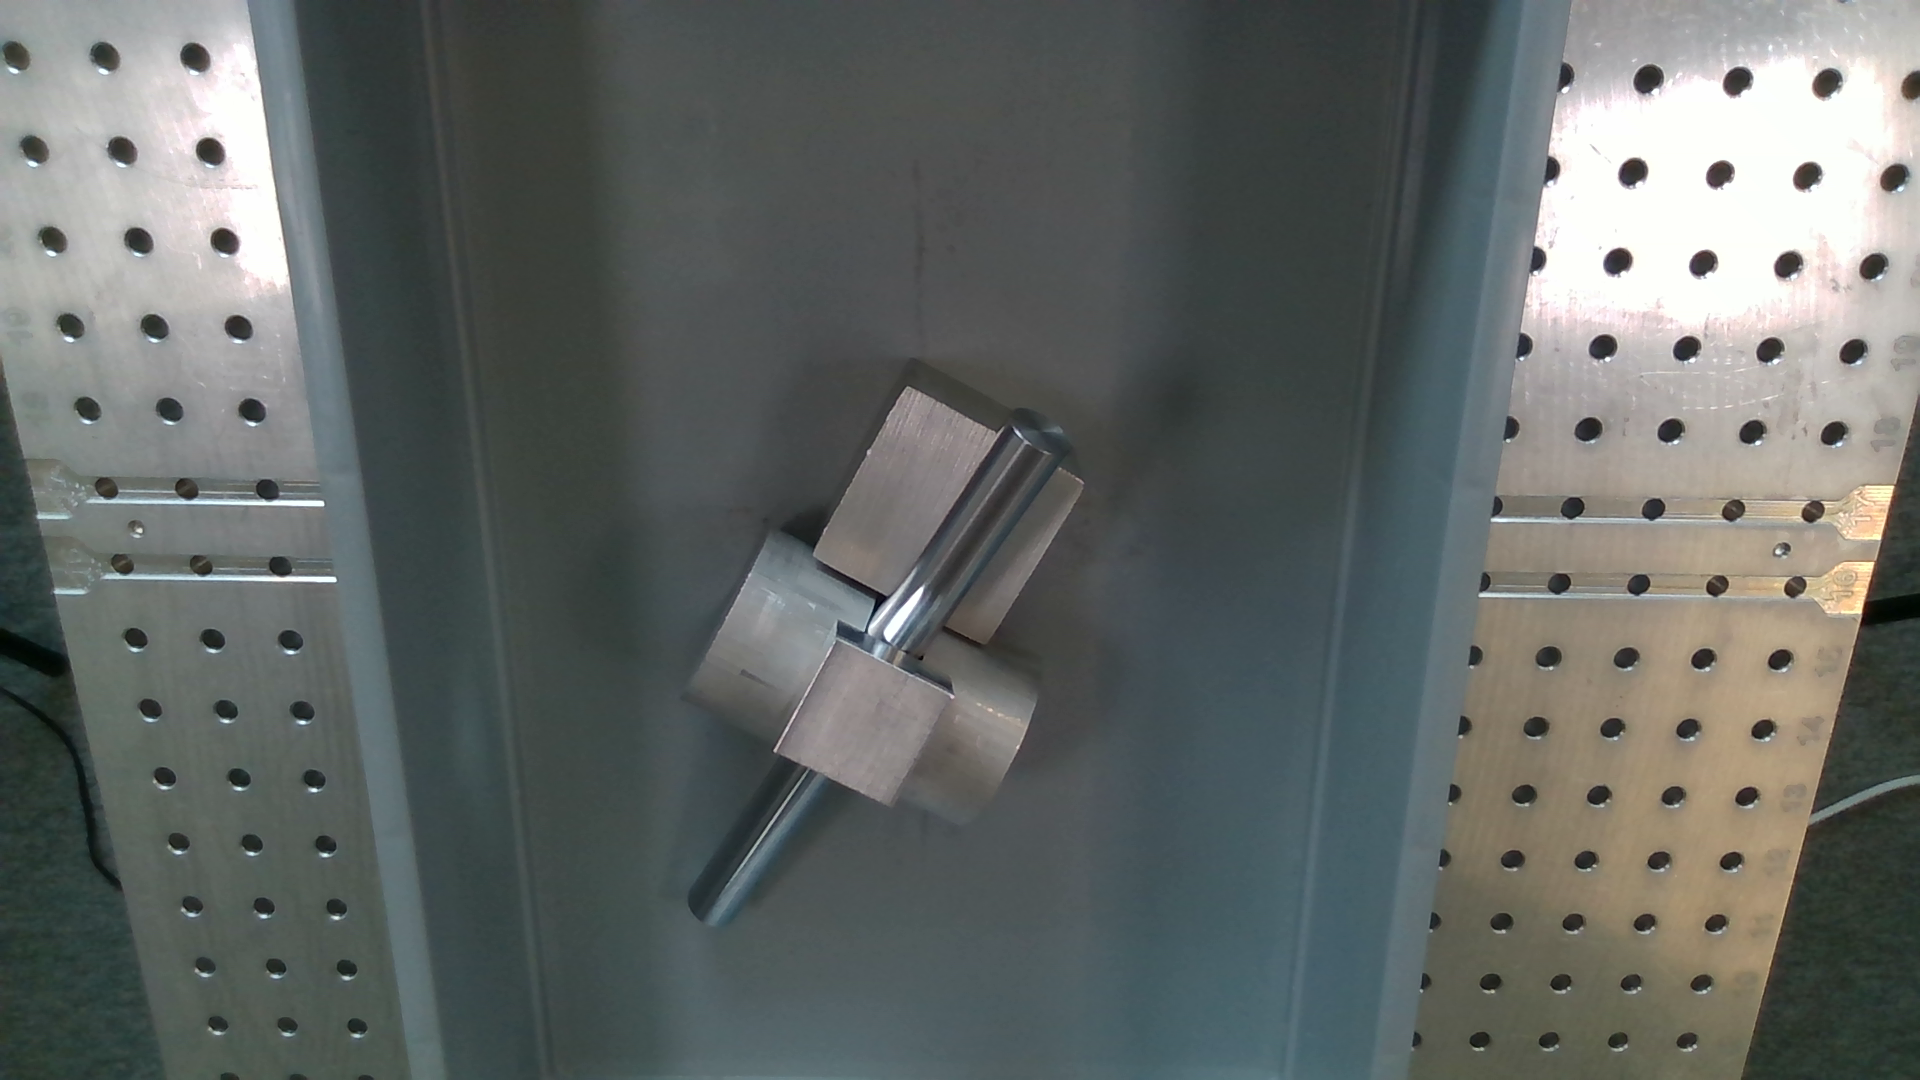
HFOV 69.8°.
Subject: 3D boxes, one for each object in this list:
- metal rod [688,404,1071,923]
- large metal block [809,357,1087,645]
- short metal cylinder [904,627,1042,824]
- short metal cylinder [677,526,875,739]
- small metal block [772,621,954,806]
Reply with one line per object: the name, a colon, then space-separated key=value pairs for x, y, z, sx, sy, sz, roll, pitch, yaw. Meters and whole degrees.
metal rod: x=-0.044 y=0.065 z=0.566 sx=0.025 sy=0.025 sz=0.301 roll=28 pitch=123 yaw=-10
large metal block: x=-0.005 y=-0.017 z=0.562 sx=0.080 sy=0.050 sz=0.080 roll=28 pitch=108 yaw=-10
short metal cylinder: x=-0.007 y=0.073 z=0.582 sx=0.050 sy=0.080 sz=0.080 roll=26 pitch=108 yaw=-9
short metal cylinder: x=-0.075 y=0.040 z=0.569 sx=0.050 sy=0.080 sz=0.080 roll=28 pitch=108 yaw=-10
small metal block: x=-0.037 y=0.065 z=0.524 sx=0.050 sy=0.025 sz=0.050 roll=28 pitch=100 yaw=-9
